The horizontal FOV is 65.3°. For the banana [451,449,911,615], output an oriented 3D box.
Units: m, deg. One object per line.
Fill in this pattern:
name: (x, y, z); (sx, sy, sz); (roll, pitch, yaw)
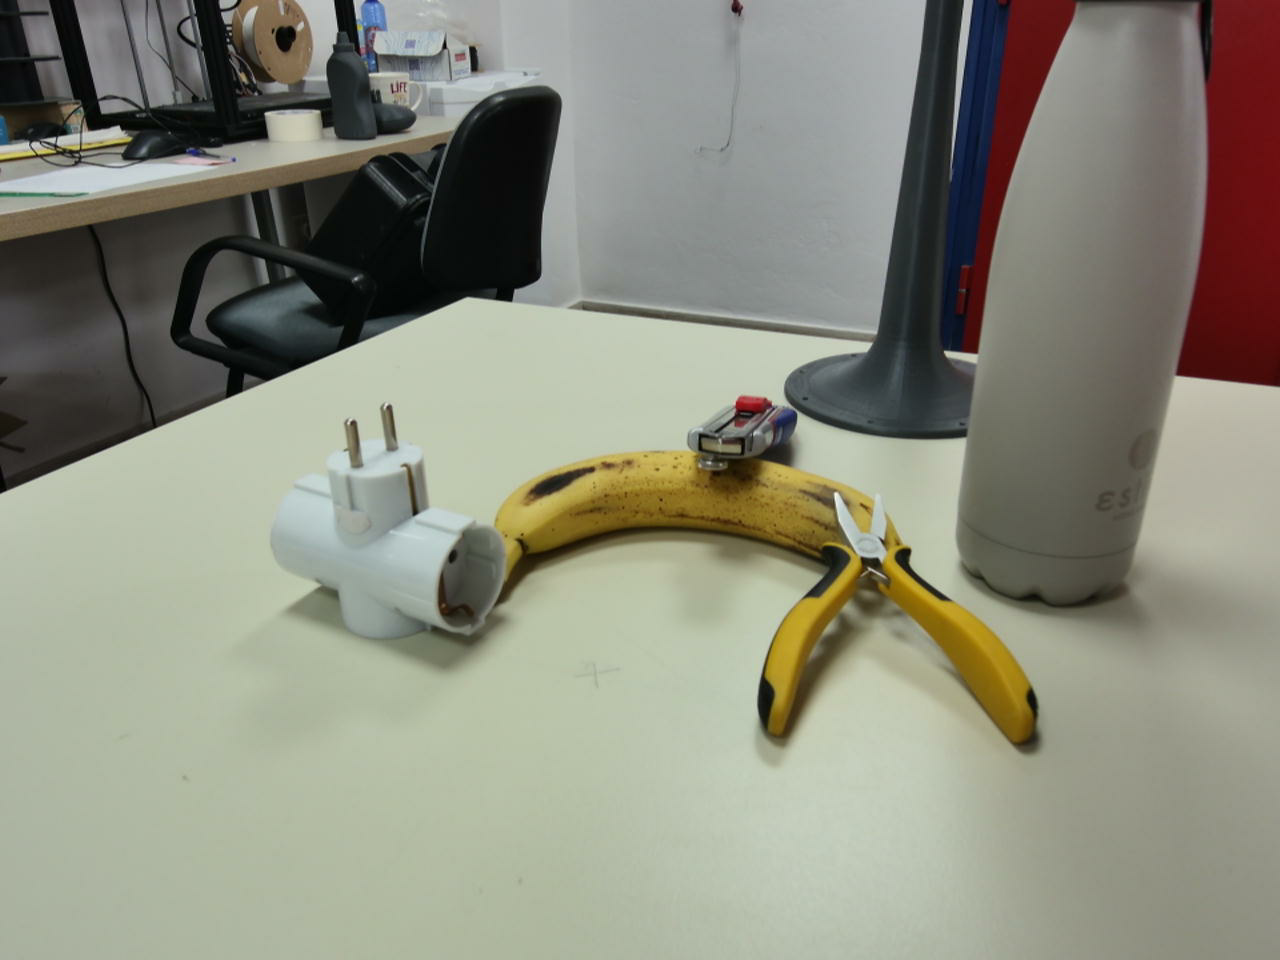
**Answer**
banana: (0.018, 0.017, 0.451); (0.186, 0.038, 0.097); (-1, 23, -1)
